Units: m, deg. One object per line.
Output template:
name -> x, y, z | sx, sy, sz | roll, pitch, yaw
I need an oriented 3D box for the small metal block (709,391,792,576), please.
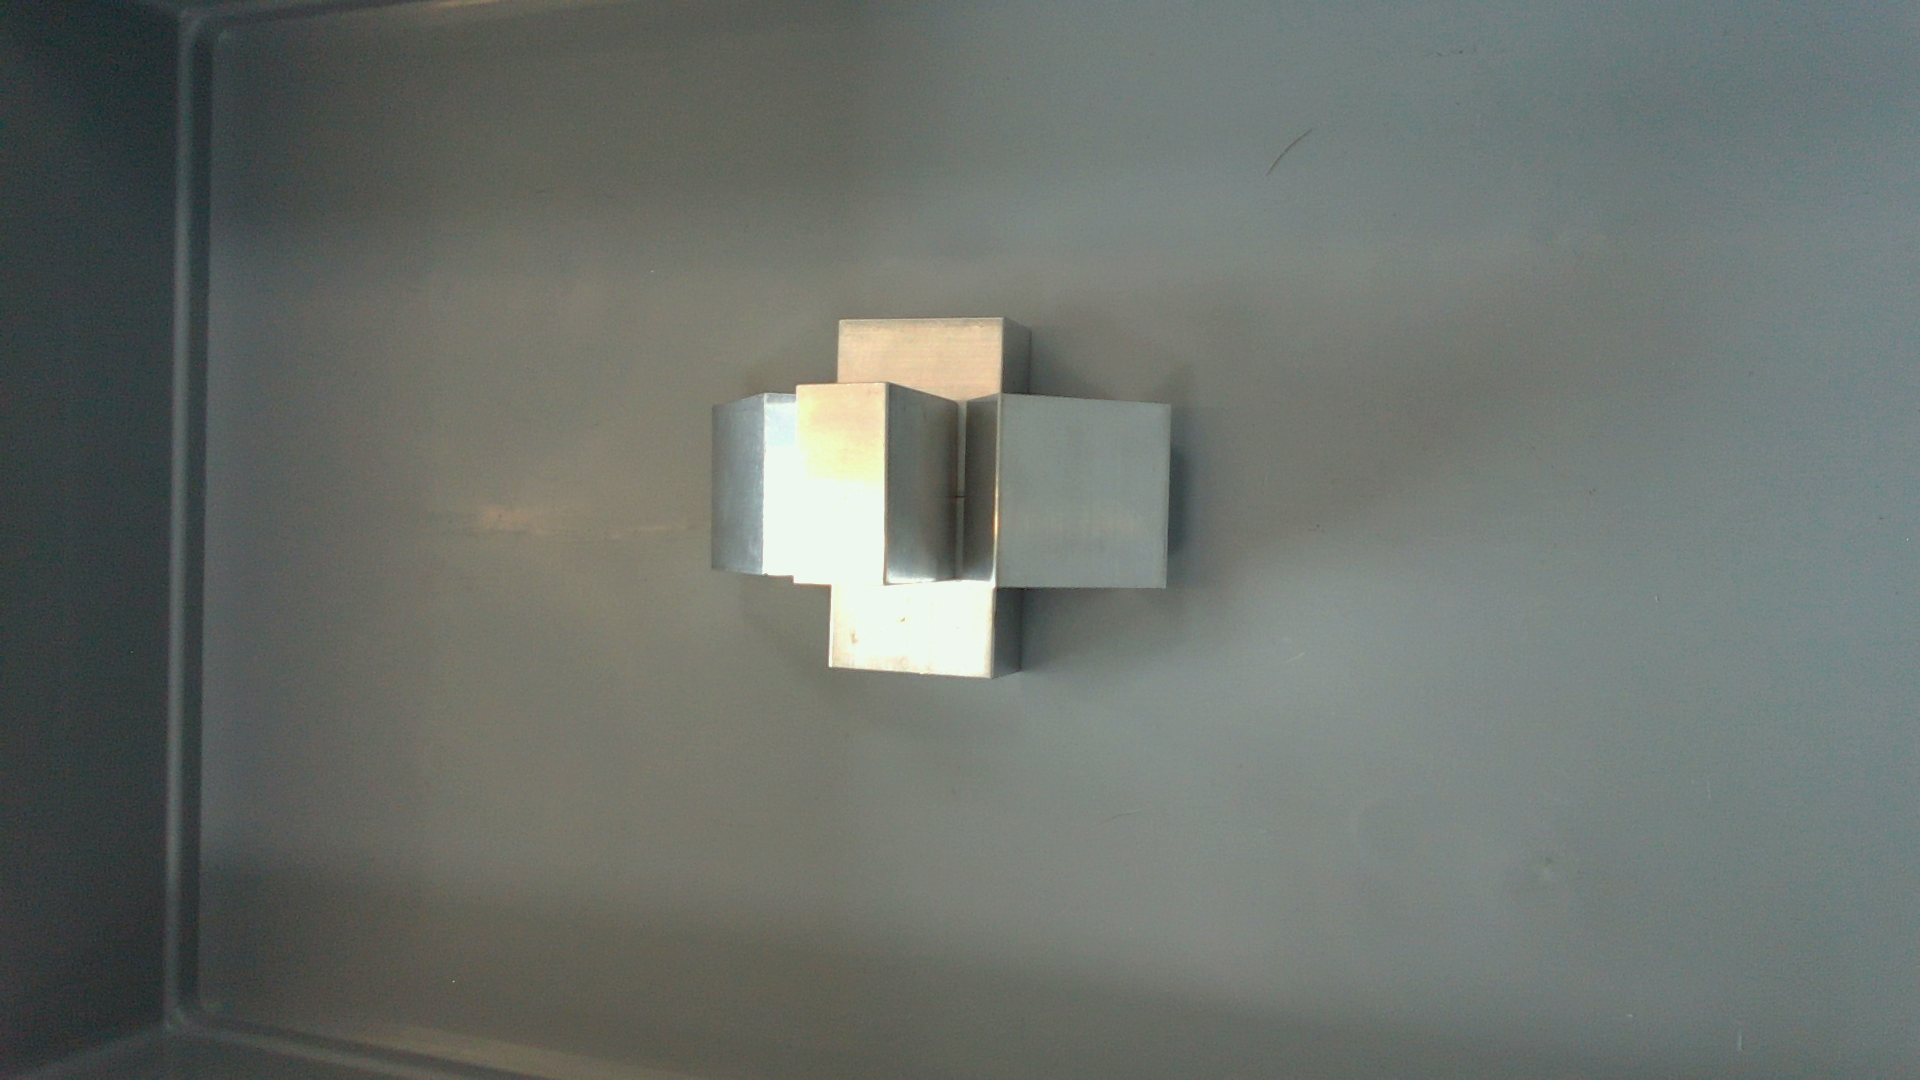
small metal block -> -0.053, -0.015, 0.399 | 0.050, 0.025, 0.050 | 2, 91, 63

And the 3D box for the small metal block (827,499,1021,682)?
small metal block -> -0.009, 0.013, 0.398 | 0.050, 0.025, 0.050 | 3, 91, 20

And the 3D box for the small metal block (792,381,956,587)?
small metal block -> -0.022, -0.014, 0.362 | 0.025, 0.050, 0.050 | 0, 90, 19

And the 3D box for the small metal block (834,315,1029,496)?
small metal block -> -0.009, -0.038, 0.397 | 0.050, 0.025, 0.050 | 3, 91, 19

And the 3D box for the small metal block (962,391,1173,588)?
small metal block -> 0.028, -0.013, 0.371 | 0.050, 0.025, 0.050 | 1, 91, -19
